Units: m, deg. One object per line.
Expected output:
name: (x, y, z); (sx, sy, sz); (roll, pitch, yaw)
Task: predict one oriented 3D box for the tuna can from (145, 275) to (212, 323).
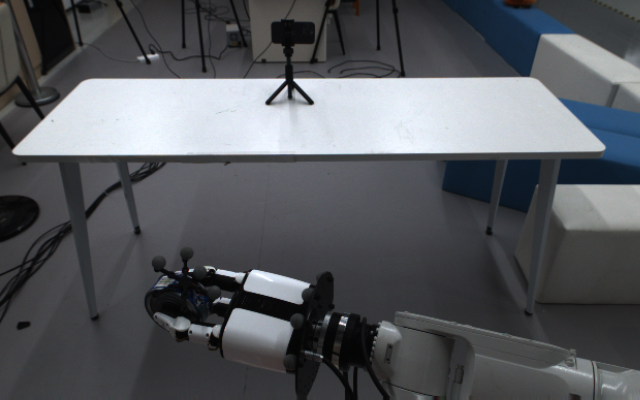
tuna can: (-0.187, 0.140, 0.644); (0.085, 0.085, 0.034); (12, 35, 14)
